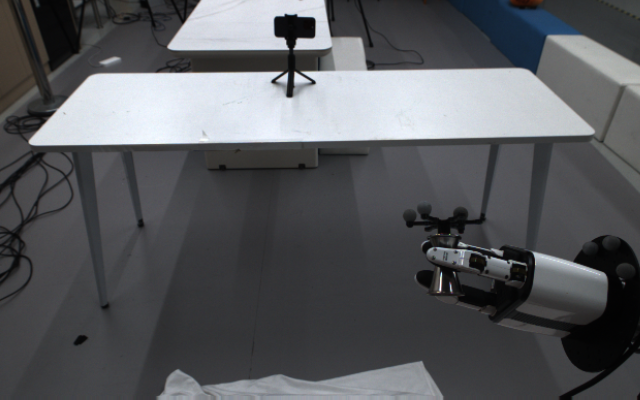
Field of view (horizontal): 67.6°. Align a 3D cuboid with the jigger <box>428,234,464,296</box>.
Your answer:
[{"bbox_3d":[0.146,0.074,0.565,0.043,0.043,0.071,2,76,0],"label":"jigger"}]
